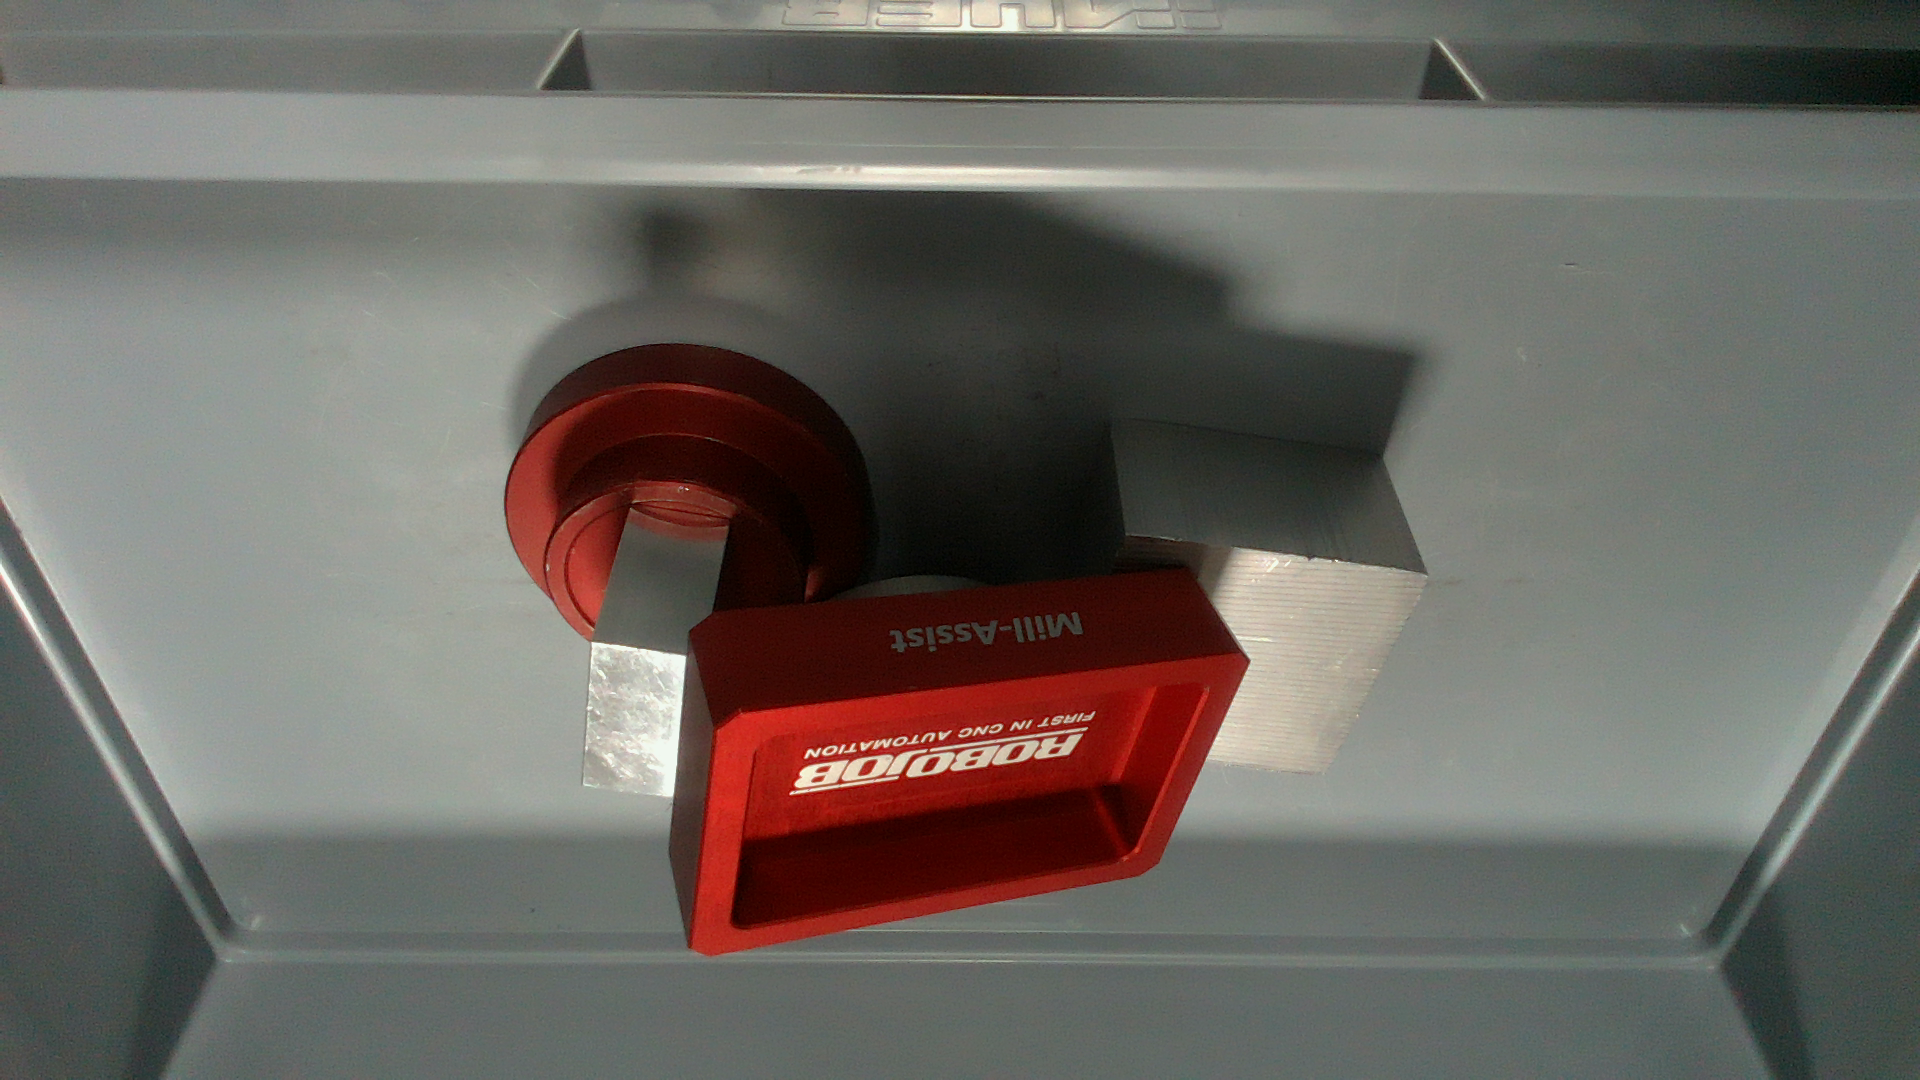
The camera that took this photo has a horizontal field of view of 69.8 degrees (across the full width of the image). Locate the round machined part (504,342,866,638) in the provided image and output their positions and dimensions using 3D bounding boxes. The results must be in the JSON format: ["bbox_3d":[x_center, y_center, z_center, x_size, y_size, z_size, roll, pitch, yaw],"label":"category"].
[{"bbox_3d":[-0.075,-0.001,0.376,0.098,0.042,0.098,0,130,0],"label":"round machined part"}]

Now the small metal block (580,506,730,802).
[{"bbox_3d":[-0.075,0.028,0.341,0.025,0.050,0.050,9,130,-8],"label":"small metal block"}]

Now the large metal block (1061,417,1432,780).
[{"bbox_3d":[0.073,0.018,0.387,0.080,0.050,0.080,7,130,-6],"label":"large metal block"}]

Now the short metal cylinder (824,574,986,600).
[{"bbox_3d":[-0.014,0.054,0.403,0.080,0.050,0.080,-10,144,-7],"label":"short metal cylinder"}]

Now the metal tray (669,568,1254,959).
[{"bbox_3d":[-0.002,0.055,0.340,0.130,0.030,0.090,-5,133,-22],"label":"metal tray"}]
